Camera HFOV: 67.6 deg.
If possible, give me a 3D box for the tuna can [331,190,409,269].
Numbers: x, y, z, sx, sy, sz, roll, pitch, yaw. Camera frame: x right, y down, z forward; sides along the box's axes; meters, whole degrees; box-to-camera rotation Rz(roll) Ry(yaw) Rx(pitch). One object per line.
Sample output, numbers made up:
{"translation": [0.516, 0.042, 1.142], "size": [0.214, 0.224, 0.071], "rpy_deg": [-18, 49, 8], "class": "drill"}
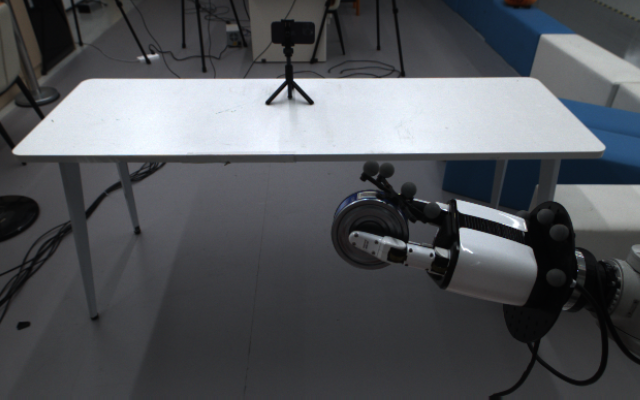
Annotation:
{"translation": [0.059, 0.040, 0.535], "size": [0.085, 0.085, 0.034], "rpy_deg": [6, 19, 6], "class": "tuna can"}
